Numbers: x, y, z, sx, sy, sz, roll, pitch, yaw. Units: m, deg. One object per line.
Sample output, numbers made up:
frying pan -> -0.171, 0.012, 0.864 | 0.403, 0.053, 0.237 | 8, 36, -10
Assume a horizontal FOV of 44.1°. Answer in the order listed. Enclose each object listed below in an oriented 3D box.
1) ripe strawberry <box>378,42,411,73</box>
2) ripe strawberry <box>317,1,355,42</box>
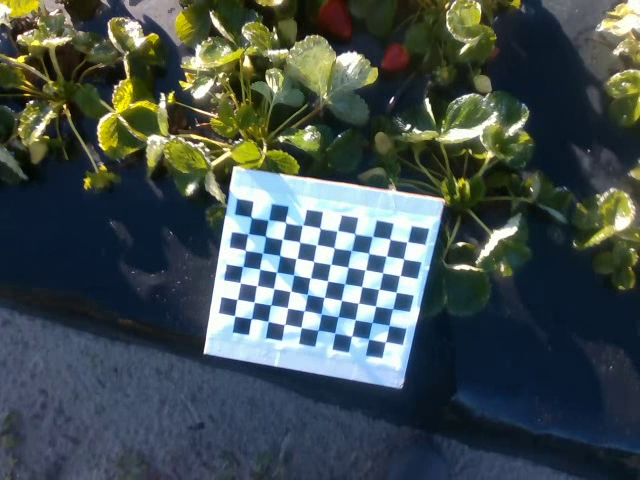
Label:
ripe strawberry -> 0.095, -0.239, 1.031 | 0.047, 0.039, 0.040 | -42, 1, -10
ripe strawberry -> 0.020, -0.295, 1.044 | 0.044, 0.056, 0.040 | -31, 1, 1
